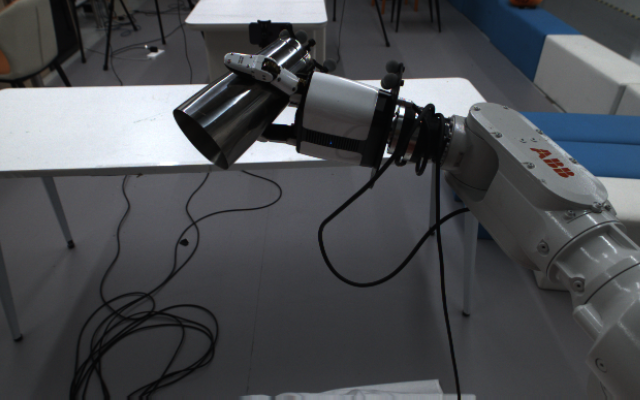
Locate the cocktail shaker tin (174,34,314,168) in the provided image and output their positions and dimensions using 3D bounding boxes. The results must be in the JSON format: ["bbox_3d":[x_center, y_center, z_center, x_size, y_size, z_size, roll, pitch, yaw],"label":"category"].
[{"bbox_3d":[-0.085,-0.132,0.601,0.093,0.093,0.170,32,67,36],"label":"cocktail shaker tin"}]
